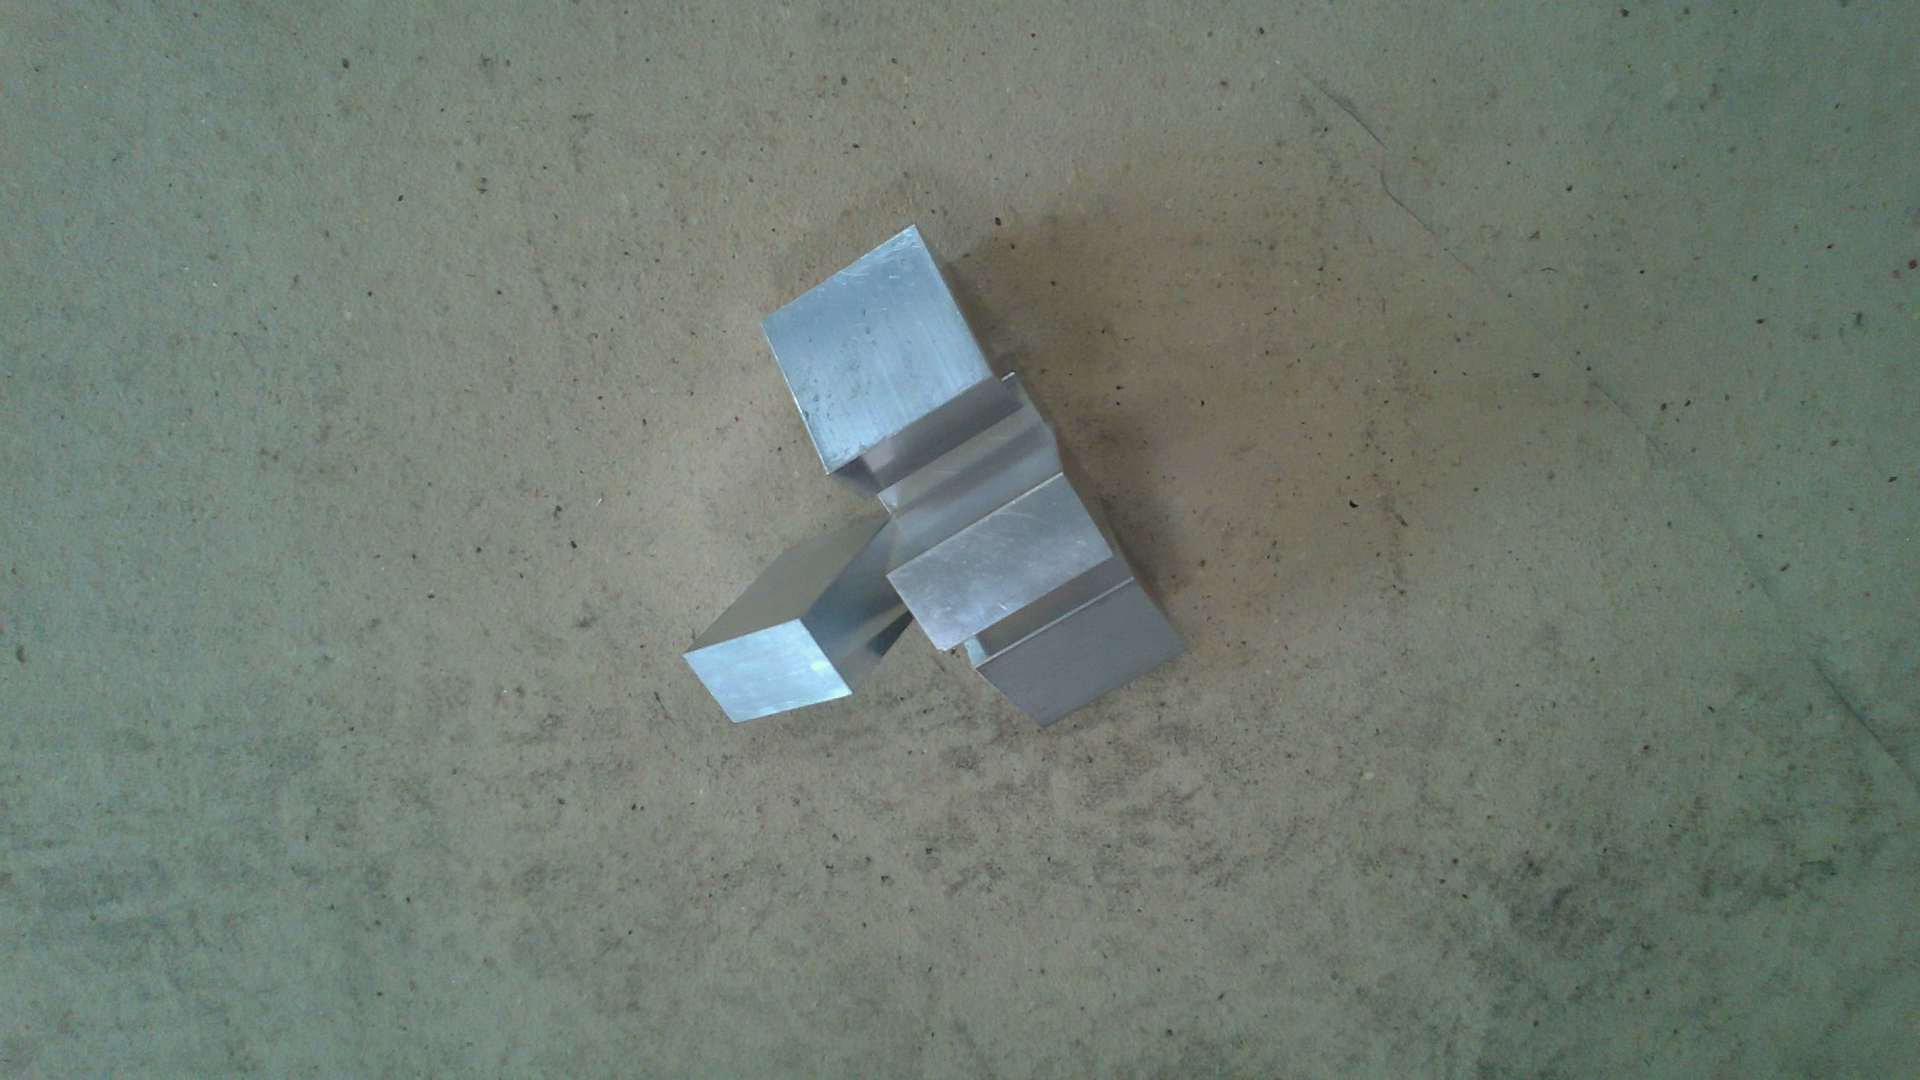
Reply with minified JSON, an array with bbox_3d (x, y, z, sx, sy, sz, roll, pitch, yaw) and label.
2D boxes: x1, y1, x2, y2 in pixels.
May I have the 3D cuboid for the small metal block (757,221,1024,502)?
[{"bbox_3d":[-0.019,-0.046,0.364,0.050,0.025,0.050,-30,67,11],"label":"small metal block"}]

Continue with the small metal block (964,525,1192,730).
[{"bbox_3d":[0.031,0.024,0.390,0.050,0.025,0.050,-30,144,11],"label":"small metal block"}]

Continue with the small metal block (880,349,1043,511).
[{"bbox_3d":[0.006,-0.018,0.388,0.050,0.025,0.050,-29,107,13],"label":"small metal block"}]

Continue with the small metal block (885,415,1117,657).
[{"bbox_3d":[0.010,-0.002,0.354,0.050,0.050,0.025,-30,108,11],"label":"small metal block"}]

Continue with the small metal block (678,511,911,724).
[{"bbox_3d":[-0.041,0.022,0.379,0.050,0.050,0.025,-17,114,41],"label":"small metal block"}]
